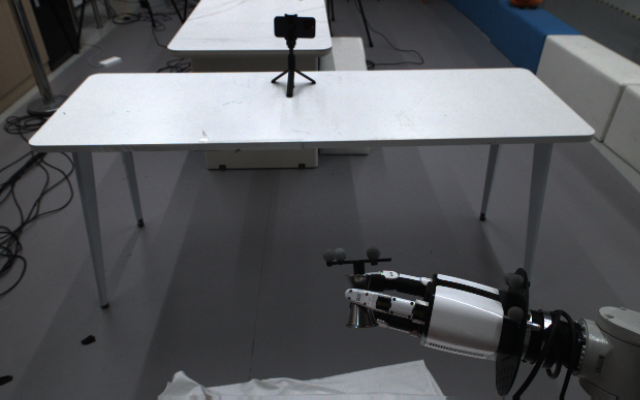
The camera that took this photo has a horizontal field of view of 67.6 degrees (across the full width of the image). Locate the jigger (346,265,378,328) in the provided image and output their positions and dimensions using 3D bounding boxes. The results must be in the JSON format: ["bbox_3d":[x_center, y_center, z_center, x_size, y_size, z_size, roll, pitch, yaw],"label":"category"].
[{"bbox_3d":[0.054,0.133,0.647,0.043,0.071,0.043,-2,-7,0],"label":"jigger"}]
